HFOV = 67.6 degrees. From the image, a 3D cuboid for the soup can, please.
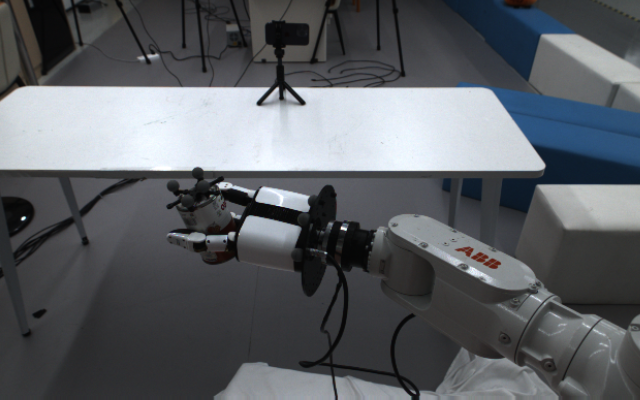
[{"bbox_3d":[-0.160,0.037,0.712,0.067,0.101,0.067,-14,31,8],"label":"soup can"}]
